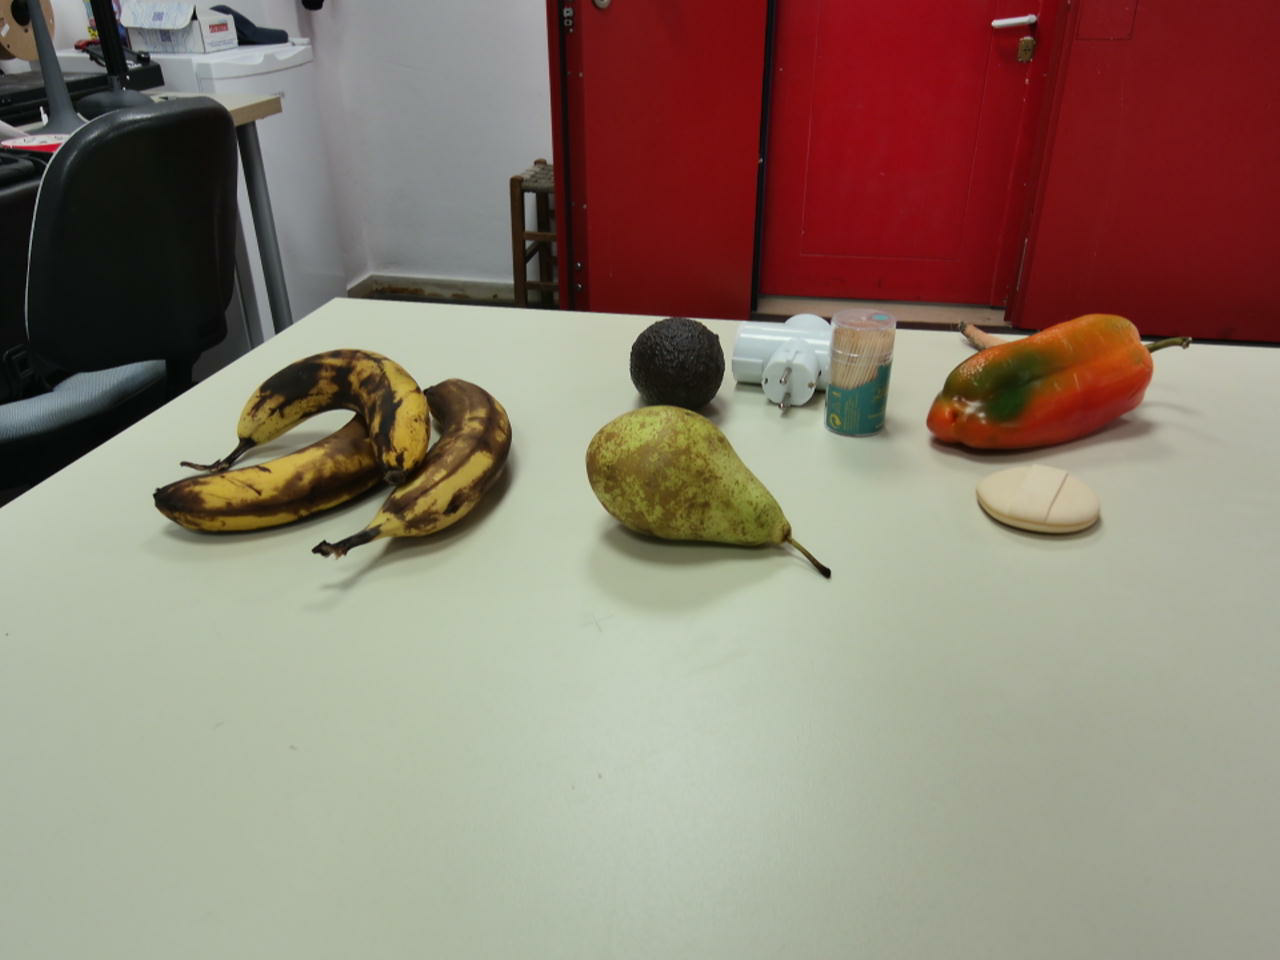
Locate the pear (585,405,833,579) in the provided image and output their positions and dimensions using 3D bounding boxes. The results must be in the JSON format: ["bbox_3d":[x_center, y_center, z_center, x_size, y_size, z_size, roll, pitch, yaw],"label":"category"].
[{"bbox_3d":[0.035,-0.001,0.530,0.128,0.075,0.071,2,25,4],"label":"pear"}]
